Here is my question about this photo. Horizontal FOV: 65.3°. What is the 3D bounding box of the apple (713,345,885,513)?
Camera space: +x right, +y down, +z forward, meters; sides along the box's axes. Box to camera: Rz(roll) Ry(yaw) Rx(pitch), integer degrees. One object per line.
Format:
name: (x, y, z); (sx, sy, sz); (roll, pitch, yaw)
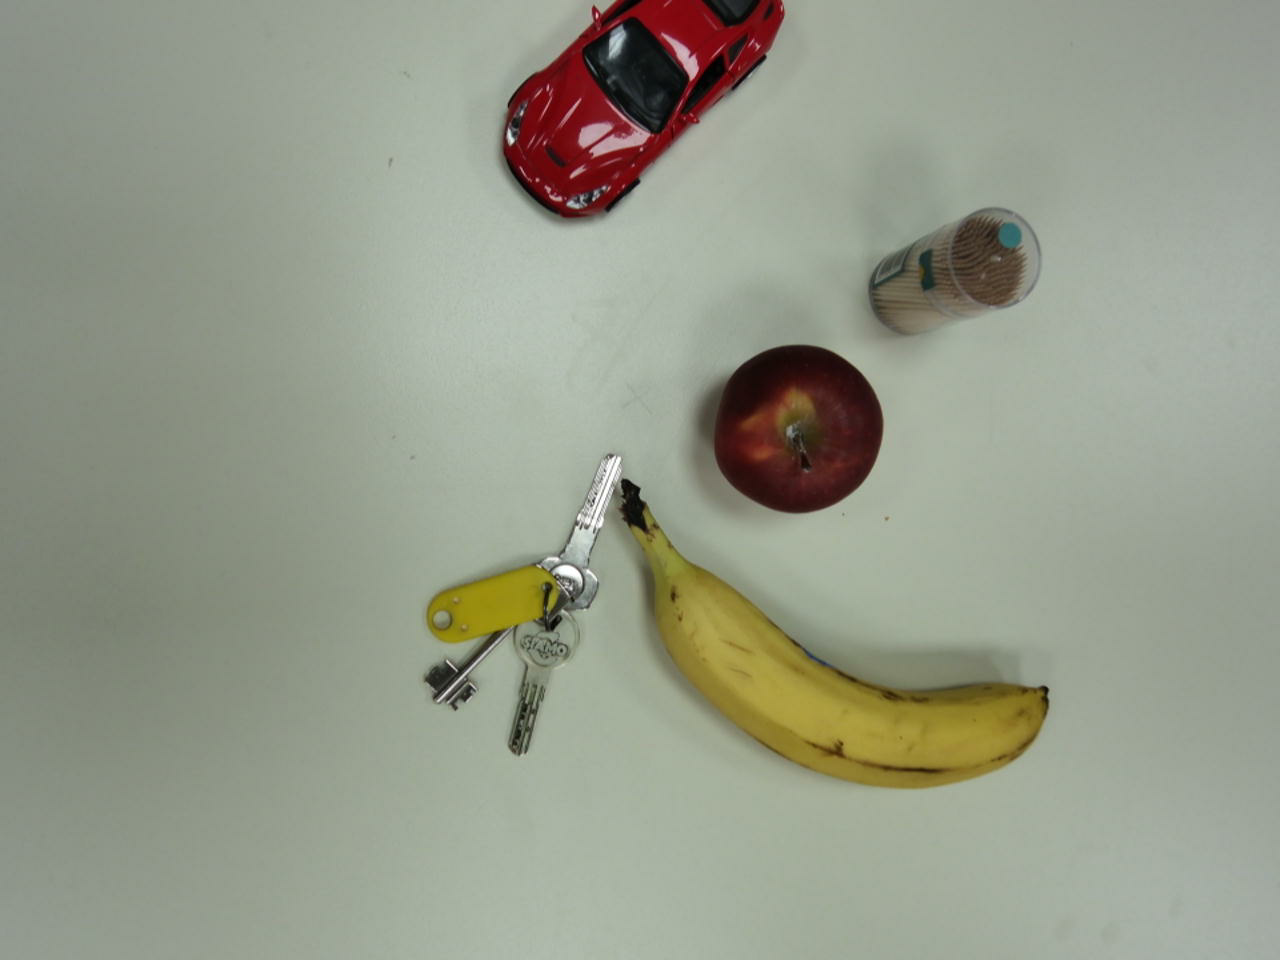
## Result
apple: (0.065, -0.020, 0.415); (0.070, 0.072, 0.070); (0, 90, -11)
